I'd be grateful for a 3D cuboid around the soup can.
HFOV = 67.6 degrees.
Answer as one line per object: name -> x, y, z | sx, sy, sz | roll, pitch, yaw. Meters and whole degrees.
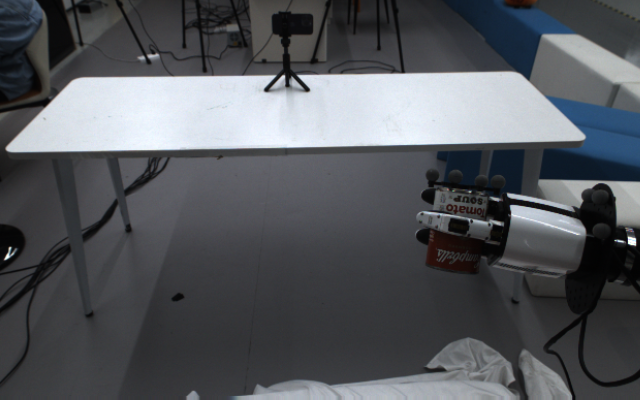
soup can -> 0.176, 0.037, 0.615 | 0.067, 0.101, 0.067 | 7, 3, 0
